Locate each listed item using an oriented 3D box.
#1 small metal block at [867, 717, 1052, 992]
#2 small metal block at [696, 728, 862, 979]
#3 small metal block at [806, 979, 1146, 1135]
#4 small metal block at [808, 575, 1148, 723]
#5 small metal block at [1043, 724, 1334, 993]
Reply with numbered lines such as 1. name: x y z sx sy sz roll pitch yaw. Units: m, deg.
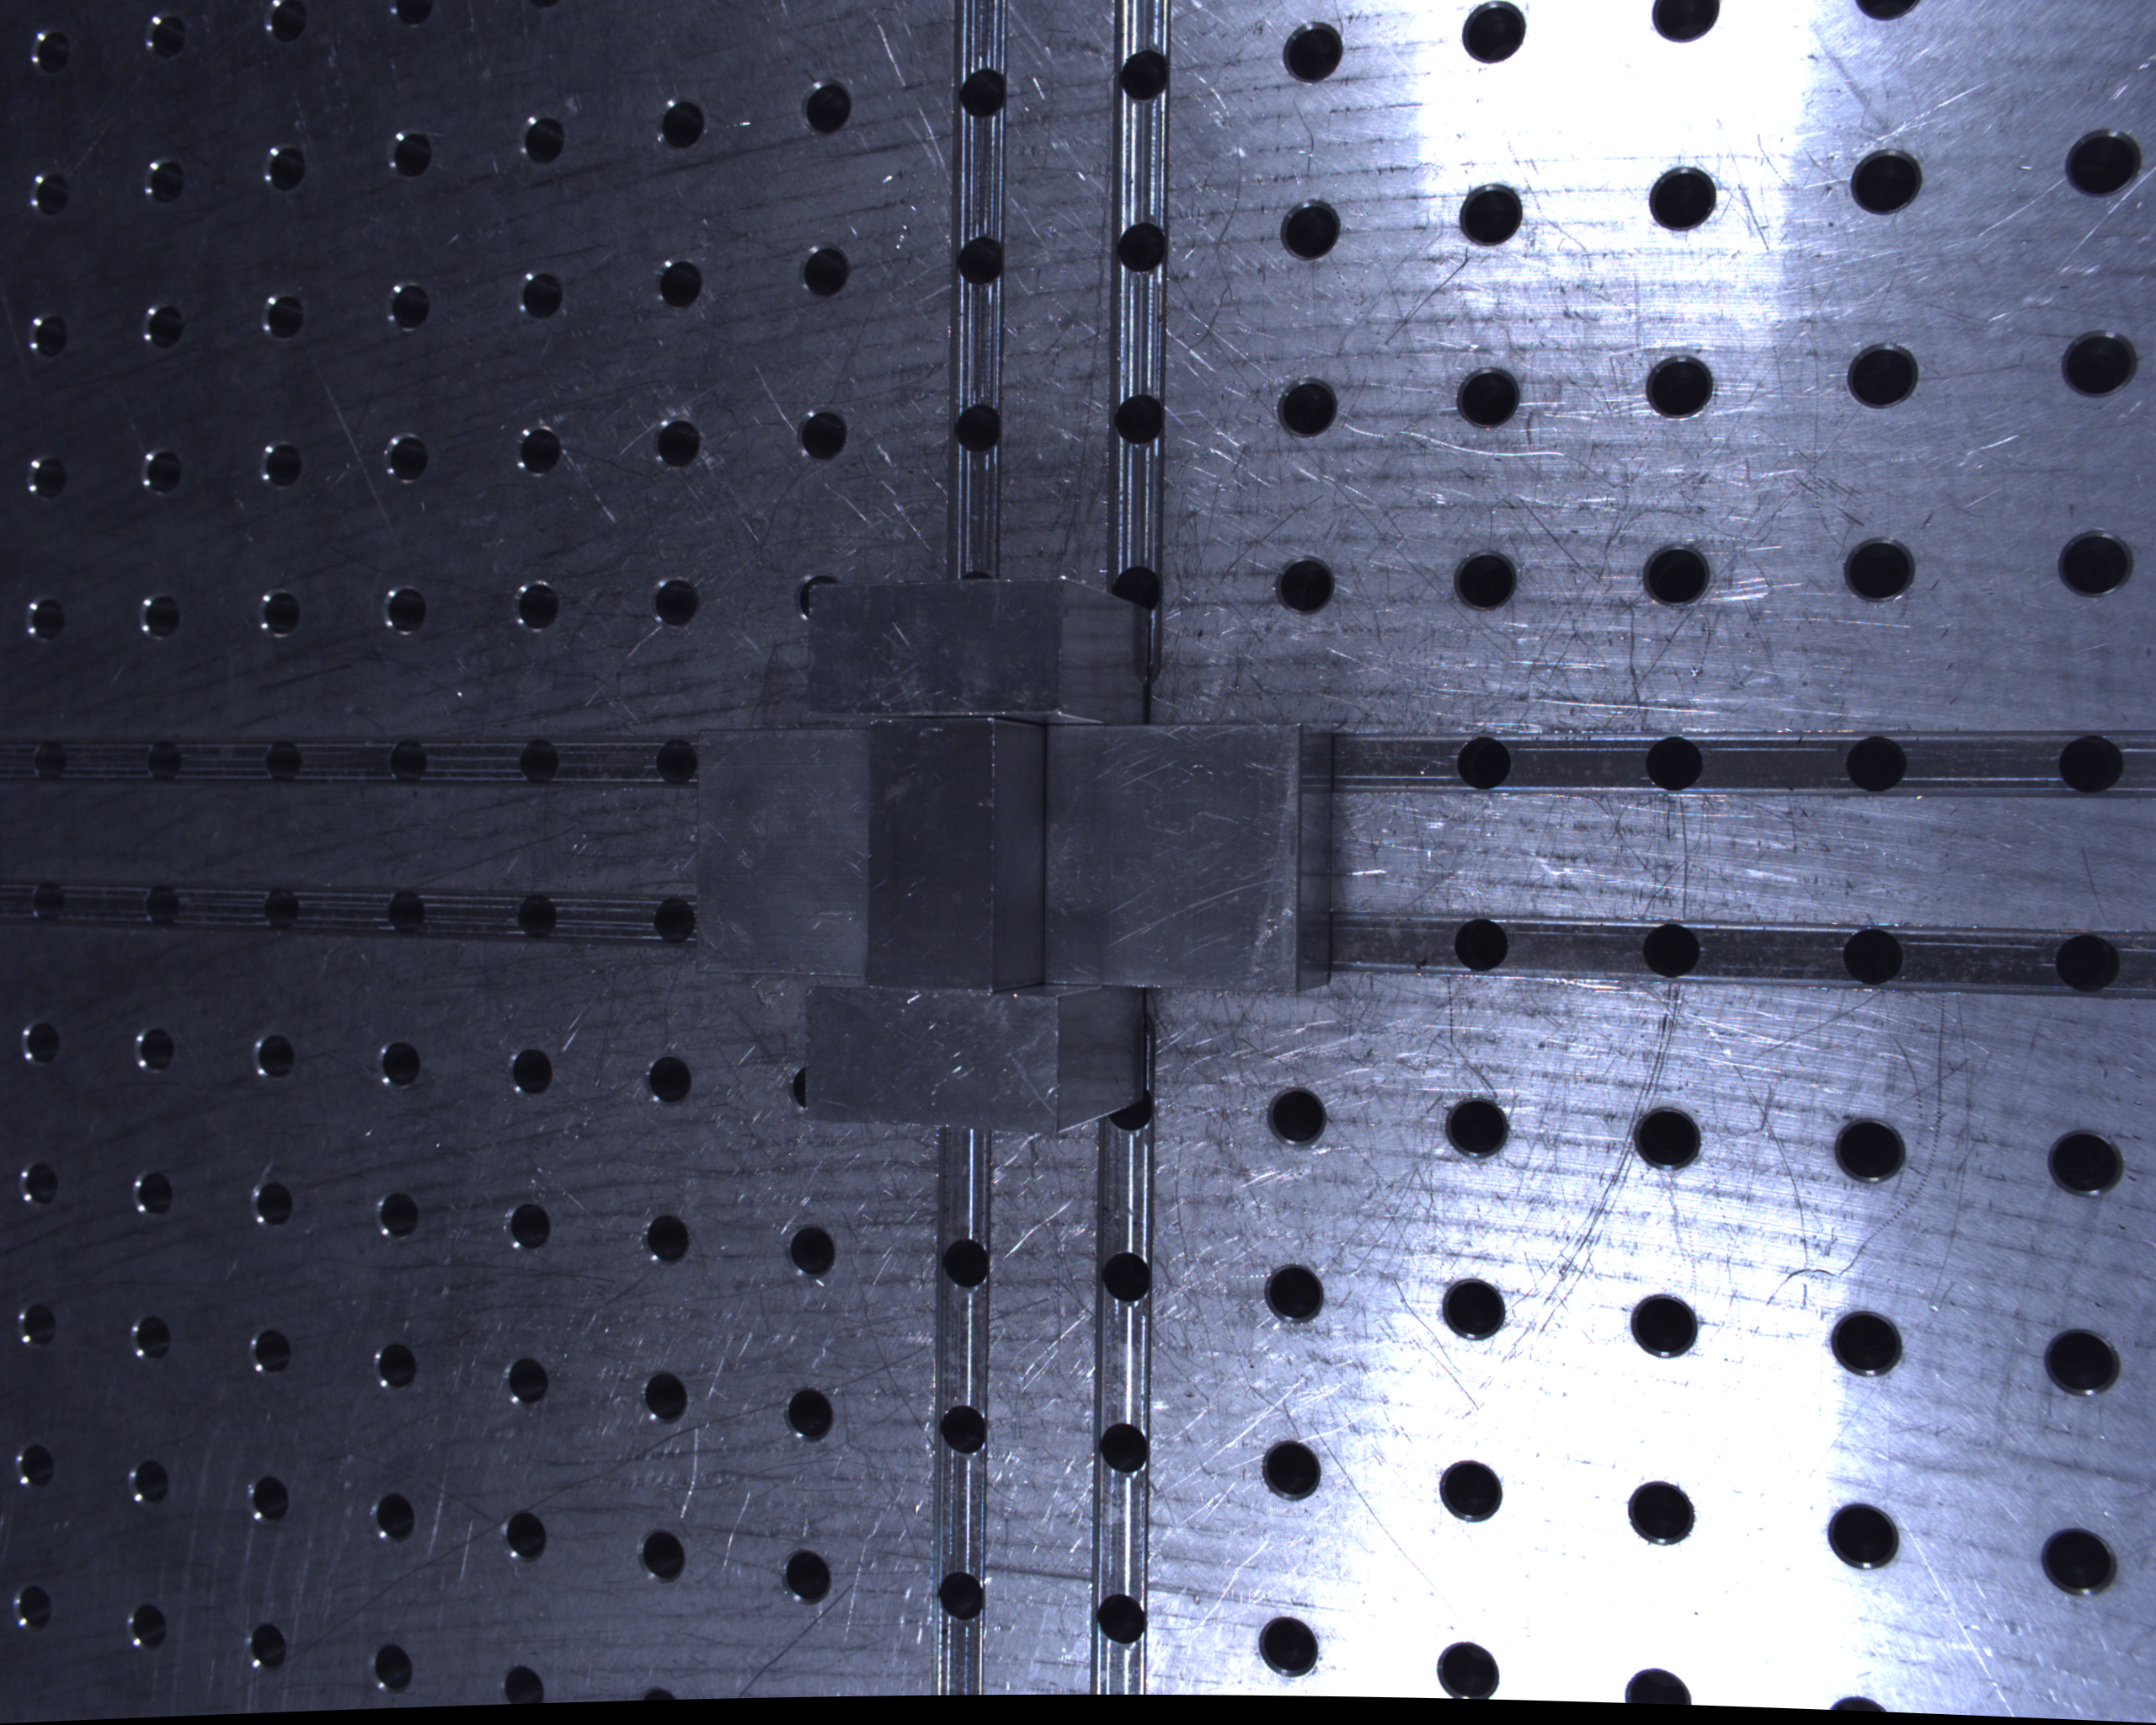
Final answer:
1. small metal block: -0.018 -0.002 0.404 0.025 0.050 0.050 1 90 20
2. small metal block: -0.050 -0.002 0.429 0.050 0.025 0.050 1 90 19
3. small metal block: -0.019 0.036 0.405 0.050 0.050 0.025 1 91 19
4. small metal block: -0.018 -0.039 0.404 0.050 0.050 0.025 1 91 19
5. small metal block: 0.022 -0.001 0.404 0.050 0.025 0.050 1 90 19
